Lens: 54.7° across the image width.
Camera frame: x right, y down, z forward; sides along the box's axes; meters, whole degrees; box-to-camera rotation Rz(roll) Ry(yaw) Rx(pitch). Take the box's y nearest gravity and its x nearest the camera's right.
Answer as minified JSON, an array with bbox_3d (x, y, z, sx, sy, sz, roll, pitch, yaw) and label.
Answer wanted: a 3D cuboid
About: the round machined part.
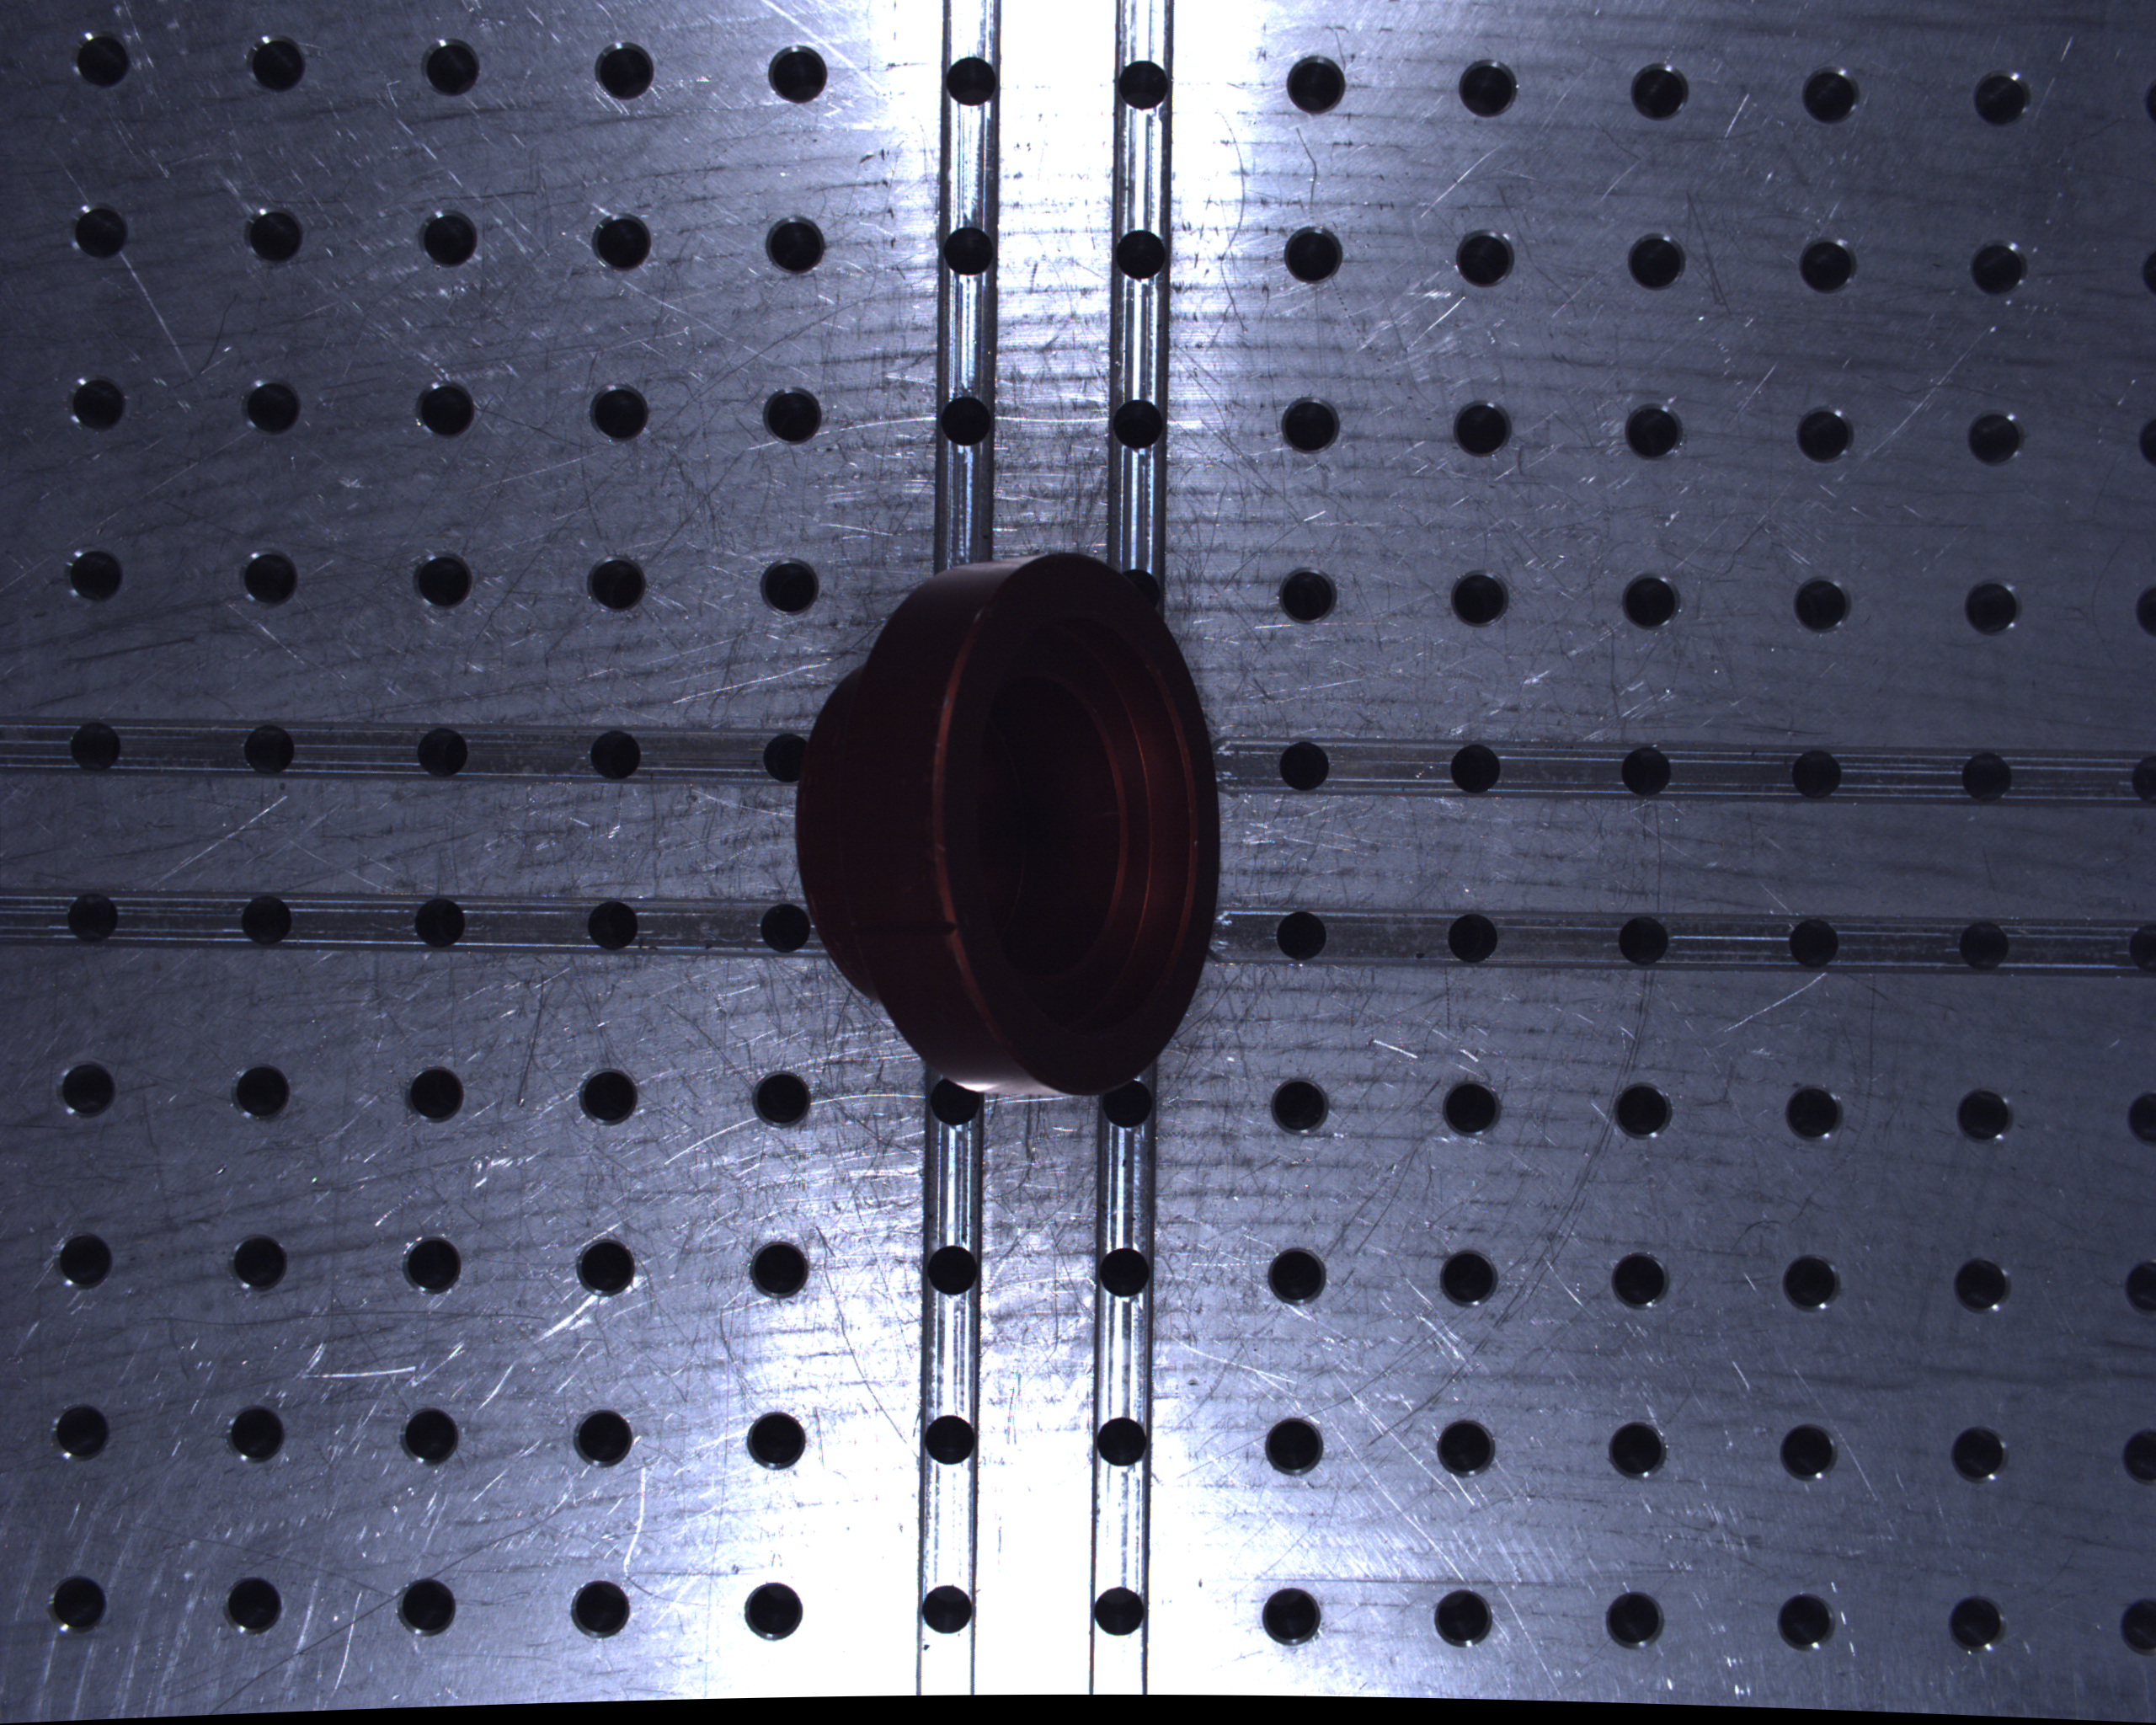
[{"bbox_3d":[-0.015,-0.006,0.385,0.042,0.099,0.097,-2,90,31],"label":"round machined part"}]
